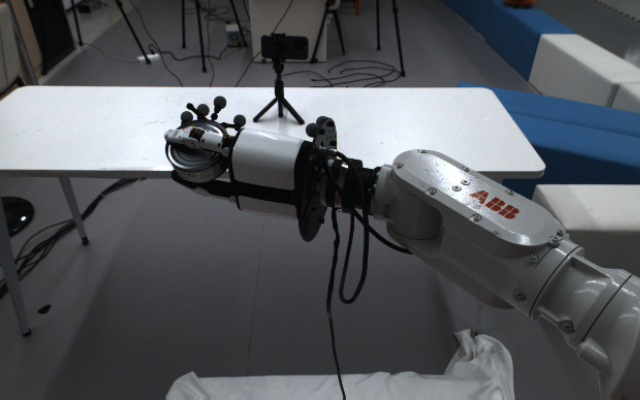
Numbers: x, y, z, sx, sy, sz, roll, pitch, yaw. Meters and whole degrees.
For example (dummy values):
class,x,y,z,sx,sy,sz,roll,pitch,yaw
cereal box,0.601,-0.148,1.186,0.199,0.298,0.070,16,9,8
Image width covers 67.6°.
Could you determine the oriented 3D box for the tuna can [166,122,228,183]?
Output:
class,x,y,z,sx,sy,sz,roll,pitch,yaw
tuna can,-0.163,-0.066,0.656,0.085,0.034,0.085,-3,57,4
